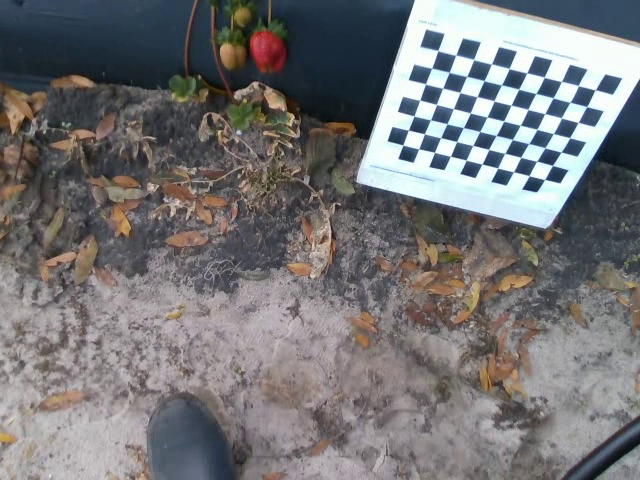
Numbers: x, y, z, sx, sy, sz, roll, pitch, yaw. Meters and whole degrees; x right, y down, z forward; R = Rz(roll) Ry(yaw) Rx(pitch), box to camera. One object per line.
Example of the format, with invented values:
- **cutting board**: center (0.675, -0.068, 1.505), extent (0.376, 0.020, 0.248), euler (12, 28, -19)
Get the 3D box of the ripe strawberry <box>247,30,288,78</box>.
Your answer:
- **ripe strawberry**: center (-0.076, -0.252, 0.961), extent (0.066, 0.075, 0.053), euler (-1, 42, 7)
